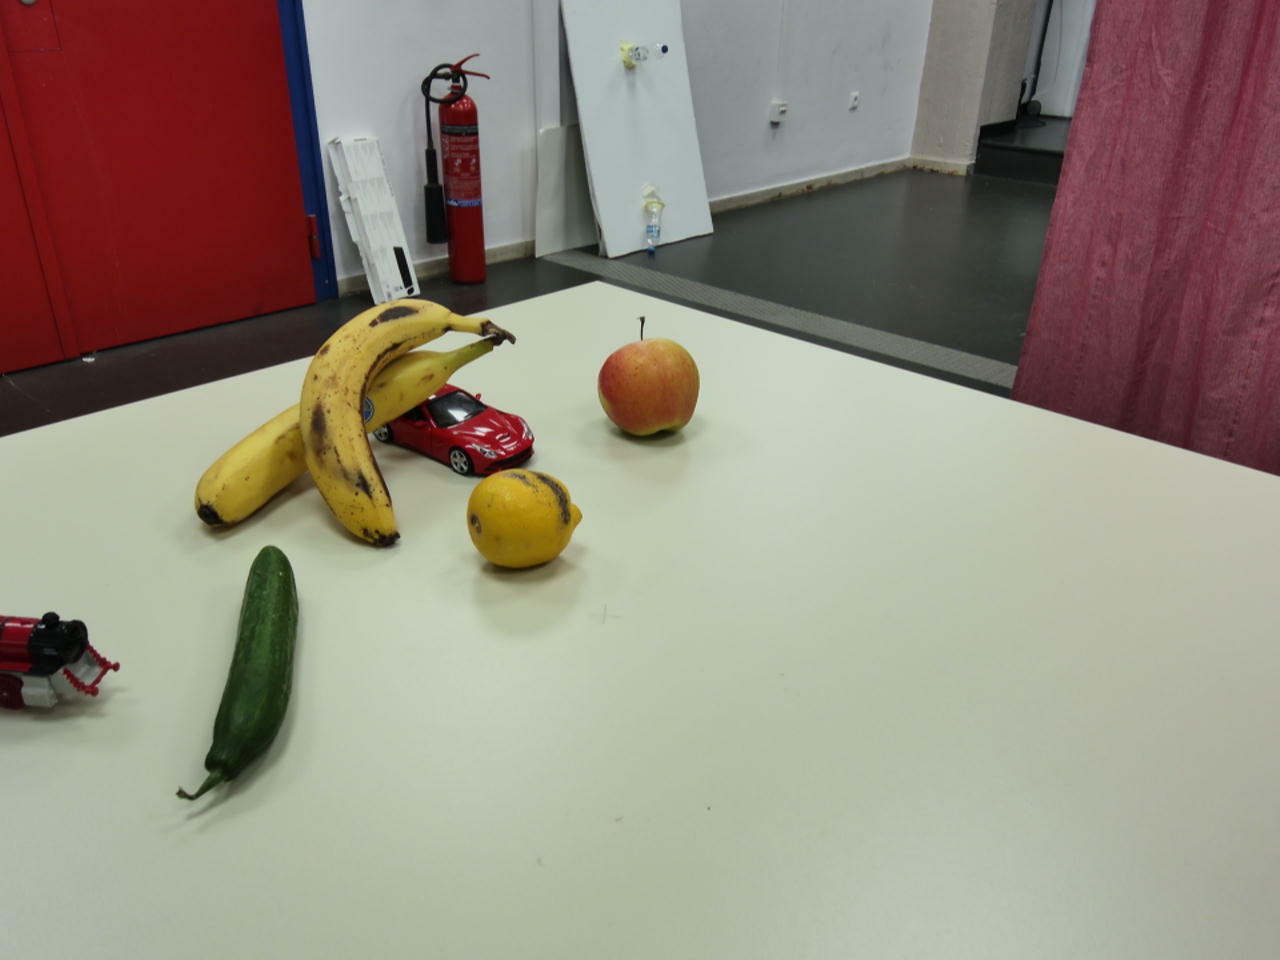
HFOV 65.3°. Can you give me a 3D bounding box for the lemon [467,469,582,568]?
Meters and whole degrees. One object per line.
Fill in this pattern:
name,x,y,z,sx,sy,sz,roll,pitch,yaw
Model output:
lemon,-0.068,0.021,0.570,0.058,0.056,0.061,17,30,30
